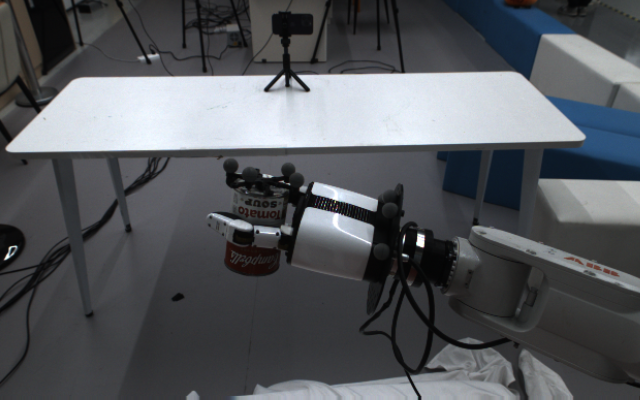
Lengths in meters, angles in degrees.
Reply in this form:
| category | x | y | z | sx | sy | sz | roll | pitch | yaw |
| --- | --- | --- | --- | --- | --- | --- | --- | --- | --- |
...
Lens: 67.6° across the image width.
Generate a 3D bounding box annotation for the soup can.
| category | x | y | z | sx | sy | sz | roll | pitch | yaw |
| --- | --- | --- | --- | --- | --- | --- | --- | --- | --- |
| soup can | -0.074 | 0.031 | 0.574 | 0.067 | 0.101 | 0.067 | 9 | 19 | -3 |
